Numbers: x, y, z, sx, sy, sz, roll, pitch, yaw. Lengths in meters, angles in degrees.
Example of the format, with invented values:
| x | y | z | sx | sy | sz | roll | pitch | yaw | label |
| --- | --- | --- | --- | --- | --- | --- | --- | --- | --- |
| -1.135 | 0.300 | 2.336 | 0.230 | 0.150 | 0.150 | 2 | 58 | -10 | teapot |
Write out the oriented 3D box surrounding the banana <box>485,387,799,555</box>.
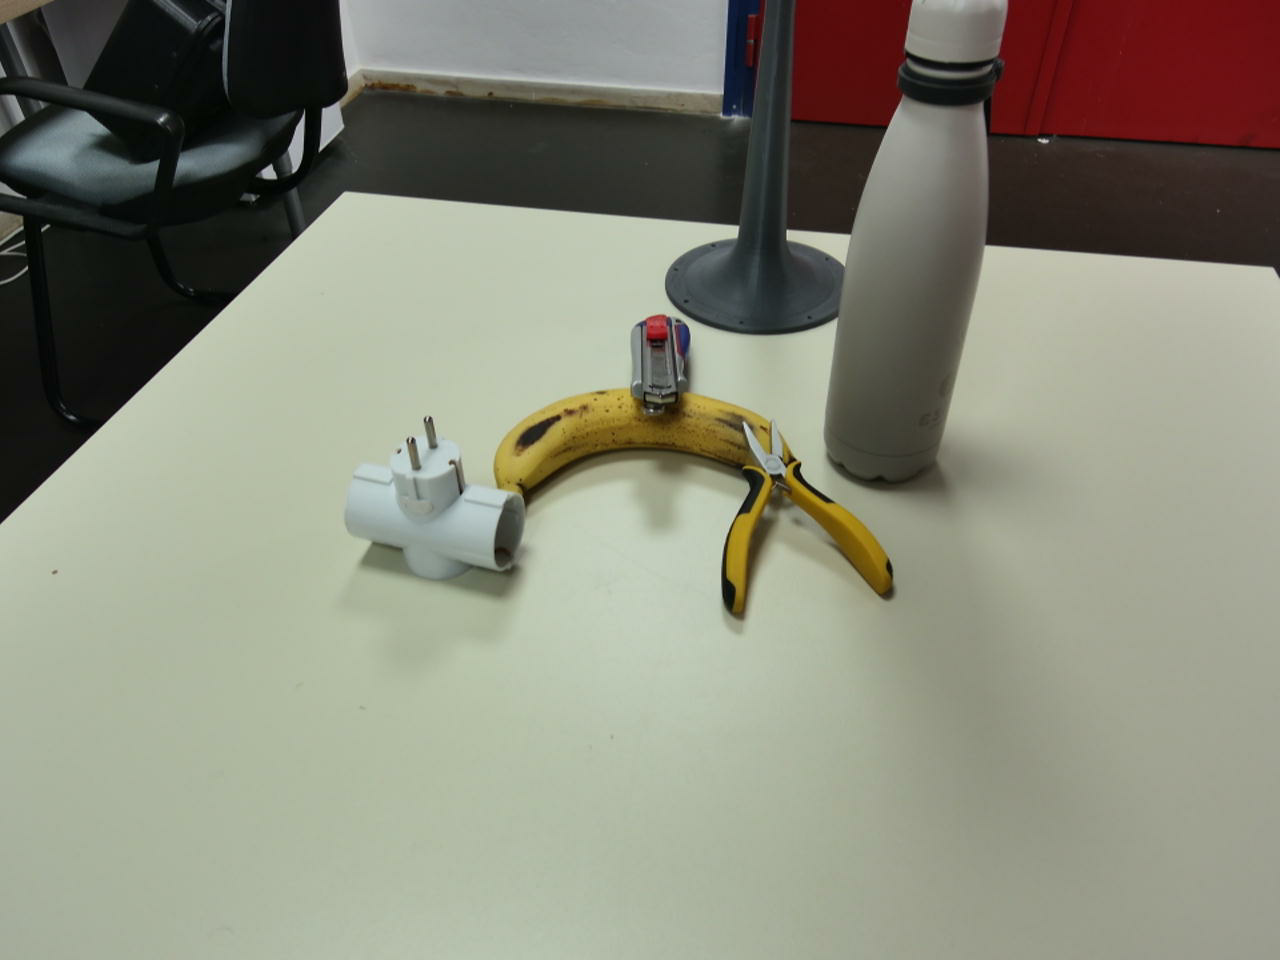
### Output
| x | y | z | sx | sy | sz | roll | pitch | yaw | label |
| --- | --- | --- | --- | --- | --- | --- | --- | --- | --- |
| -0.005 | -0.020 | 0.615 | 0.186 | 0.038 | 0.097 | -10 | 40 | -12 | banana |
